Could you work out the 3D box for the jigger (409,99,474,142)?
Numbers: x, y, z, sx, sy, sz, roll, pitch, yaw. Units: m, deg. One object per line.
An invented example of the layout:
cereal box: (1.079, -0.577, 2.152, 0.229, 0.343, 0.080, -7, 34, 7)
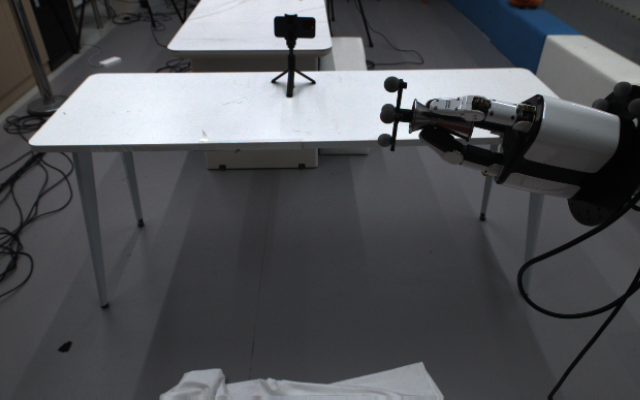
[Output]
jigger: (0.148, -0.098, 0.564, 0.071, 0.043, 0.043, 6, 35, 4)
